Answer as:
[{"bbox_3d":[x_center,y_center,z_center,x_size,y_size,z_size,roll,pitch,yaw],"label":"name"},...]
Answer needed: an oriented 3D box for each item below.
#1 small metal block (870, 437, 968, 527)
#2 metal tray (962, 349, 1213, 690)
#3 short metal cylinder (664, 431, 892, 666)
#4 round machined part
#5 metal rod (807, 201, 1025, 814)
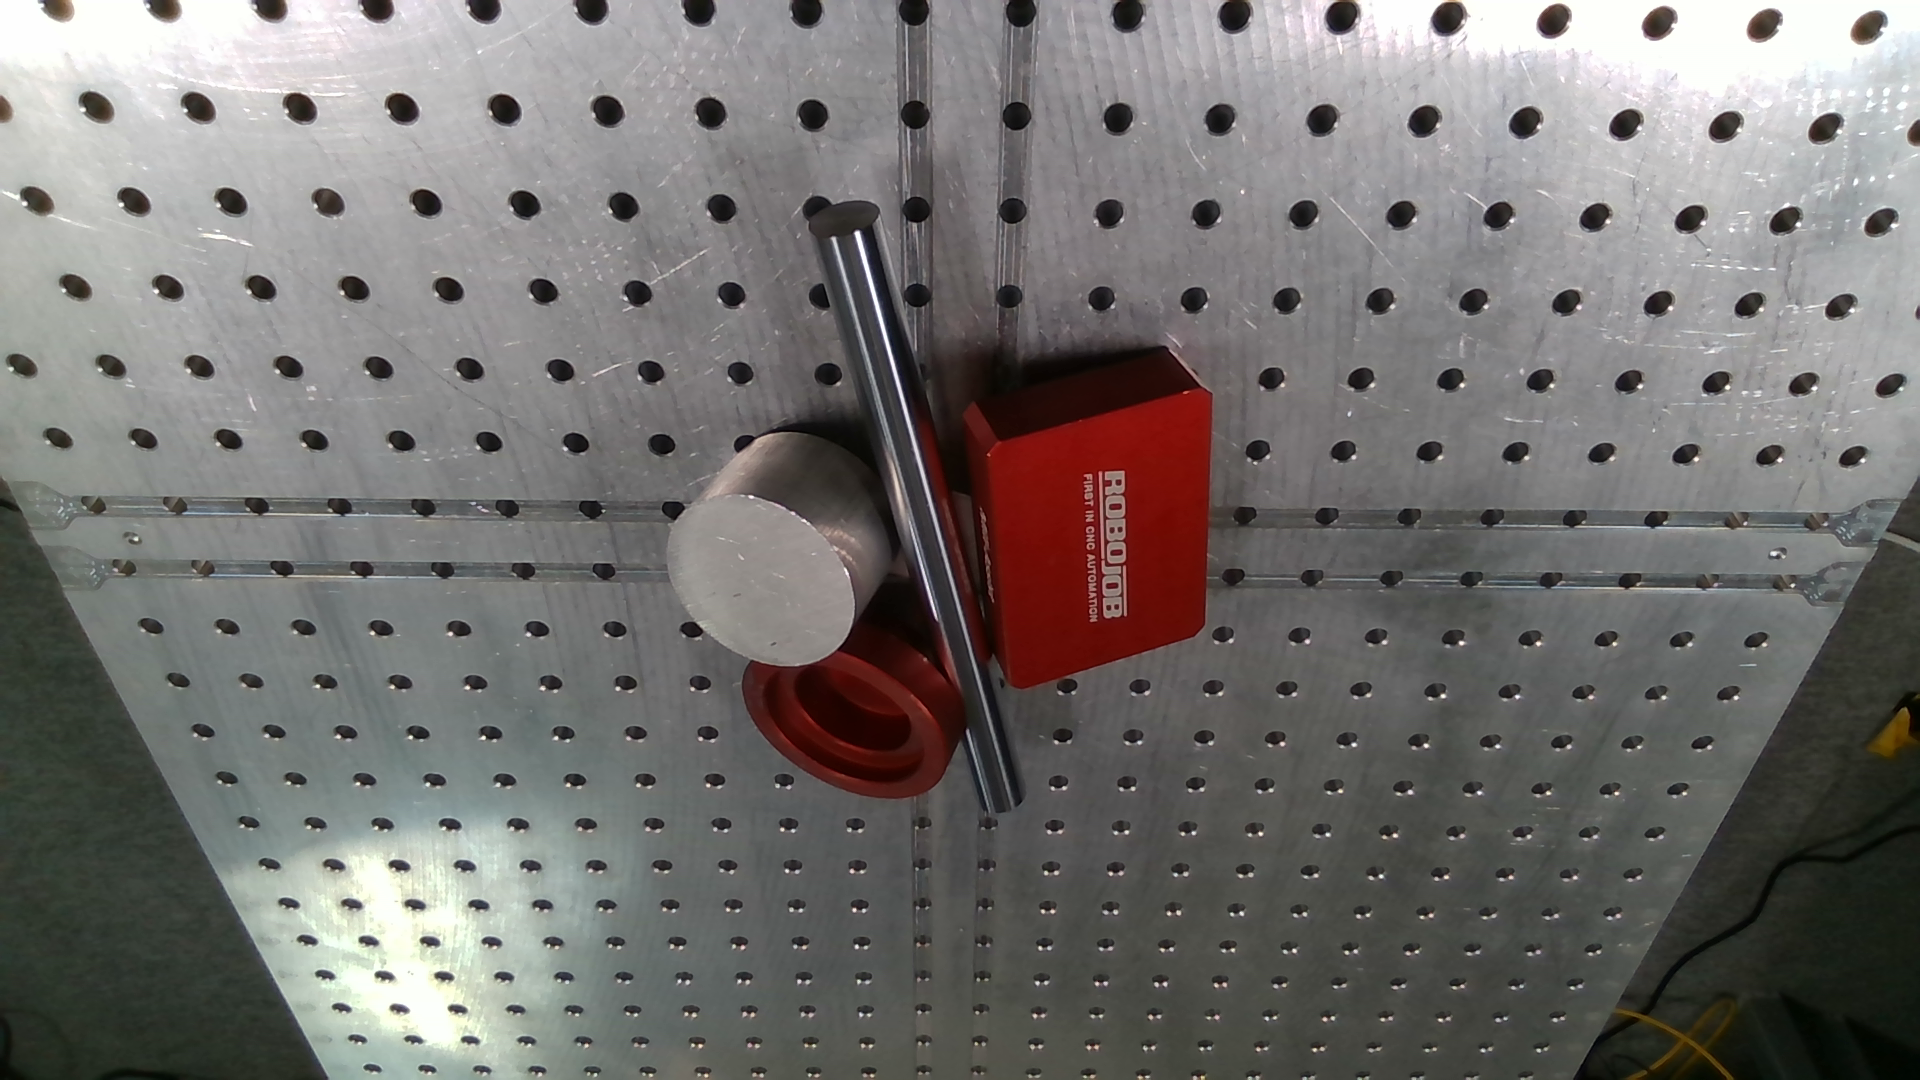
[{"bbox_3d":[-0.018,-0.018,0.578,0.050,0.025,0.050,14,129,-11],"label":"small metal block"},{"bbox_3d":[0.053,-0.005,0.556,0.090,0.030,0.130,-16,131,-11],"label":"metal tray"},{"bbox_3d":[-0.071,0.003,0.553,0.080,0.050,0.080,11,126,15],"label":"short metal cylinder"},{"bbox_3d":[-0.044,0.068,0.613,0.098,0.042,0.098,15,136,15],"label":"round machined part"},{"bbox_3d":[-0.010,0.006,0.554,0.025,0.025,0.301,-8,130,7],"label":"metal rod"}]
